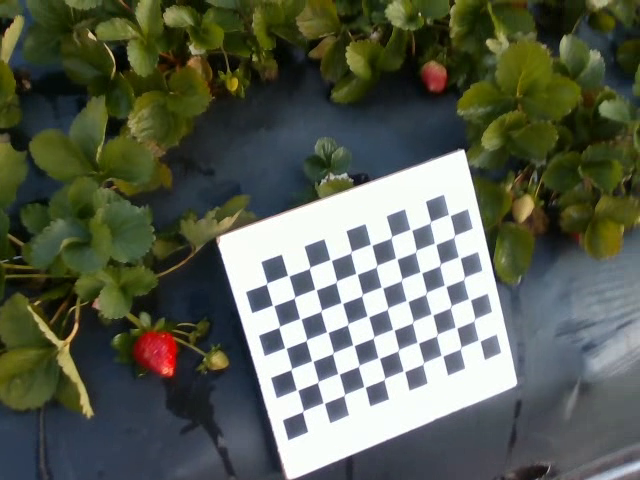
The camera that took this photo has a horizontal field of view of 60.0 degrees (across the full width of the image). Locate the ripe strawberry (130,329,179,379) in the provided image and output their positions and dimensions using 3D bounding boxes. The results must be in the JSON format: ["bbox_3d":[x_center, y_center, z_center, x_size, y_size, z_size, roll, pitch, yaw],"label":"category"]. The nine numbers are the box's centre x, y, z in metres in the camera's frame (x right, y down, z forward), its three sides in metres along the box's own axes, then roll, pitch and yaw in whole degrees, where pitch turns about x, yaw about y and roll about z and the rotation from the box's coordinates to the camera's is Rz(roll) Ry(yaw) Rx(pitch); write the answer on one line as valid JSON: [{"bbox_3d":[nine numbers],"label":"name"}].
[{"bbox_3d":[-0.163,0.121,0.575,0.052,0.043,0.057,46,-1,-42],"label":"ripe strawberry"}]
